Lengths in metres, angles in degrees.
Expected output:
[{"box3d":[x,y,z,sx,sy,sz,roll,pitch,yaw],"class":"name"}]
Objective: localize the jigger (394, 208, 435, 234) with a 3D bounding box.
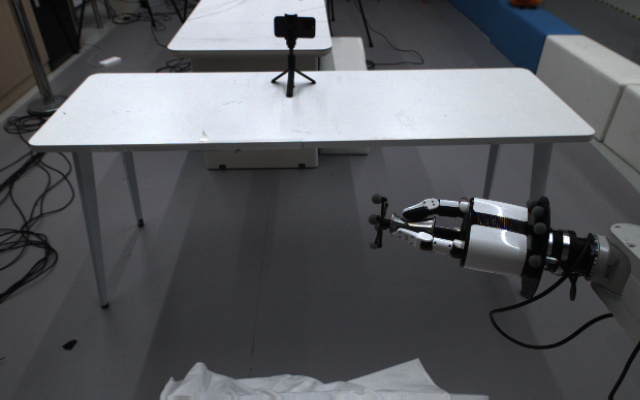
[{"box3d":[0.157,0.040,0.786,0.071,0.043,0.043,7,35,16],"class":"jigger"}]
